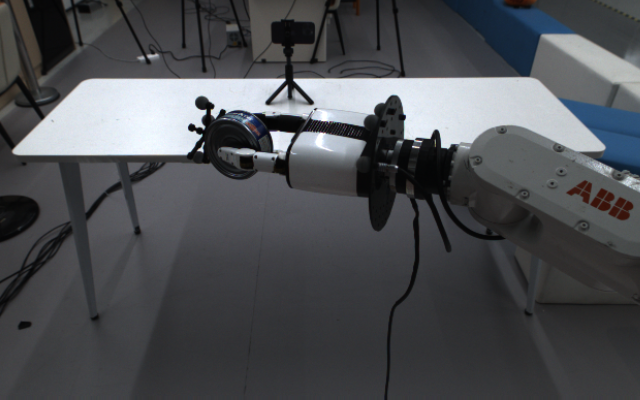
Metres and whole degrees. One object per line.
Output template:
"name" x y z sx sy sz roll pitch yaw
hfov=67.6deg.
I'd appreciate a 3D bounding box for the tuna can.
"tuna can" -0.104 -0.072 0.627 0.085 0.085 0.034 14 31 16
